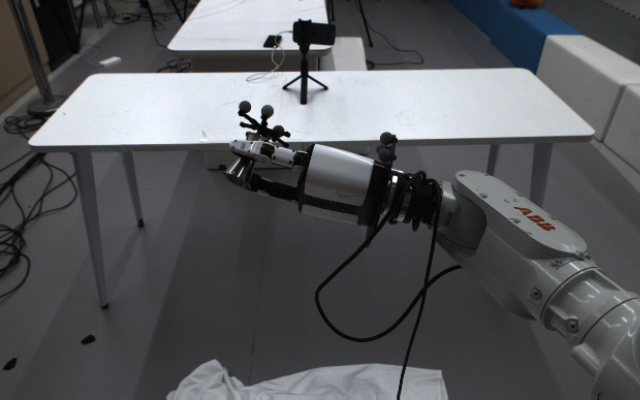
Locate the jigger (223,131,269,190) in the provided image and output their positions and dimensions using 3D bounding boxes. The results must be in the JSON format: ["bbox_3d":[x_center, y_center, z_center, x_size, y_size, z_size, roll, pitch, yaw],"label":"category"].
[{"bbox_3d":[-0.100,-0.058,0.663,0.043,0.043,0.071,20,73,23],"label":"jigger"}]
